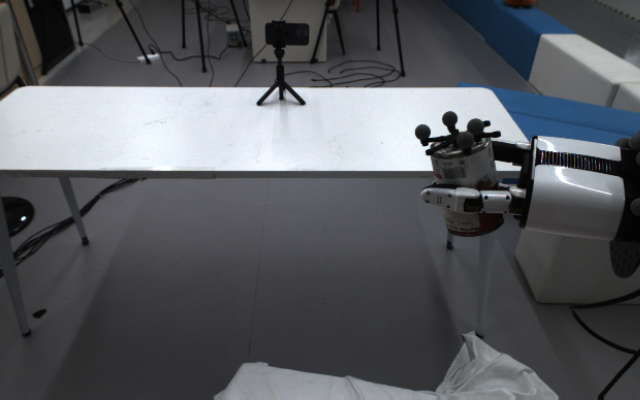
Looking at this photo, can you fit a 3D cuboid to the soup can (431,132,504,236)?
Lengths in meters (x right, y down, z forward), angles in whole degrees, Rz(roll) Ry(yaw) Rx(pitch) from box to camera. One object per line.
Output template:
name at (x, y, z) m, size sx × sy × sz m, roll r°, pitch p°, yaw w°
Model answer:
soup can at (0.168, -0.020, 0.549) m, size 0.067 × 0.101 × 0.067 m, roll -16°, pitch 22°, yaw 7°
